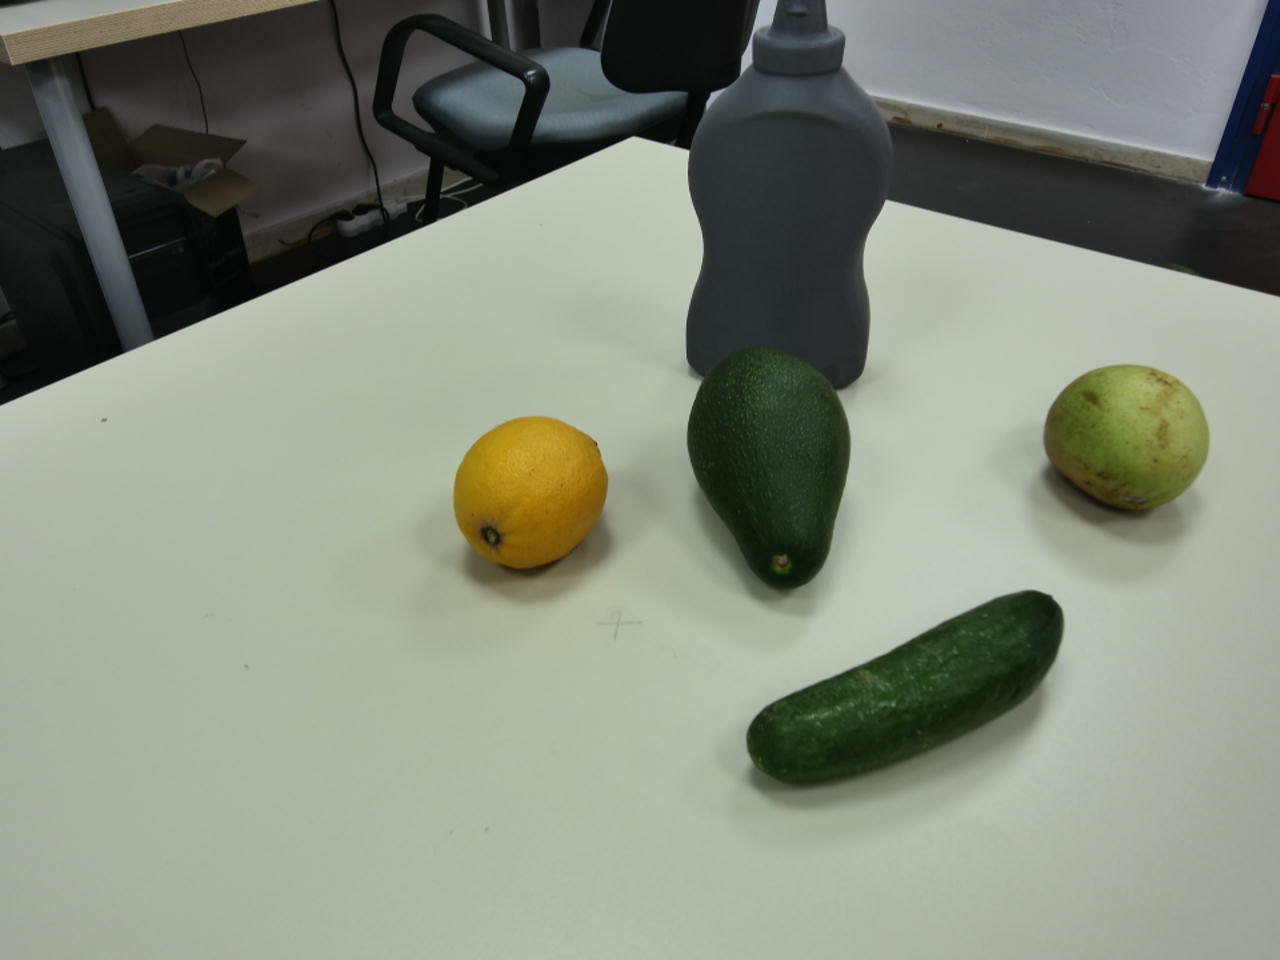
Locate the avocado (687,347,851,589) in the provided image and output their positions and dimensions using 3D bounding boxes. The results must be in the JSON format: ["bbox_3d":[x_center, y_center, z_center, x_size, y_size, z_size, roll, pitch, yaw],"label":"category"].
[{"bbox_3d":[0.052,-0.010,0.427,0.073,0.071,0.109,9,38,14],"label":"avocado"}]
